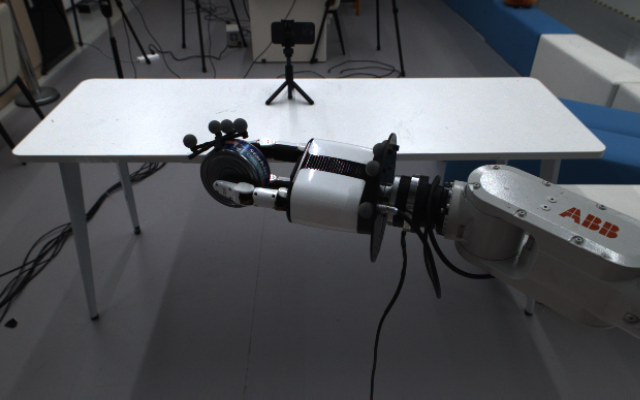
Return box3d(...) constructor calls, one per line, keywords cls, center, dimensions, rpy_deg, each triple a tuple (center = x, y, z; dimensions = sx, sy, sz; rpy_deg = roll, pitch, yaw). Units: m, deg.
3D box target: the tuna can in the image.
box3d(cls="tuna can", center=(-0.106, -0.027, 0.622), dimensions=(0.085, 0.085, 0.034), rpy_deg=(11, 34, 13))
